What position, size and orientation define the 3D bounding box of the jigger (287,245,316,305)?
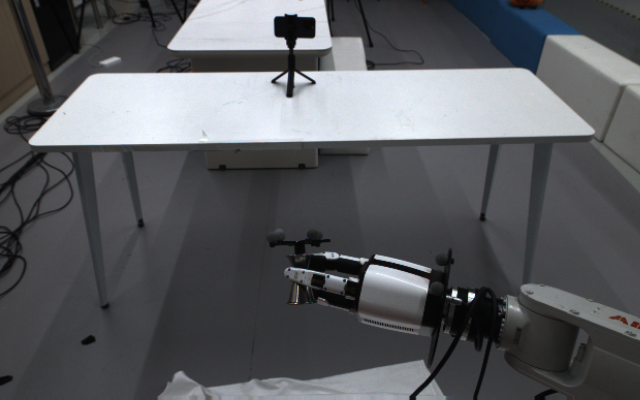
[{"bbox_3d":[-0.027,0.110,0.680,0.043,0.071,0.043,-2,-7,0],"label":"jigger"}]
